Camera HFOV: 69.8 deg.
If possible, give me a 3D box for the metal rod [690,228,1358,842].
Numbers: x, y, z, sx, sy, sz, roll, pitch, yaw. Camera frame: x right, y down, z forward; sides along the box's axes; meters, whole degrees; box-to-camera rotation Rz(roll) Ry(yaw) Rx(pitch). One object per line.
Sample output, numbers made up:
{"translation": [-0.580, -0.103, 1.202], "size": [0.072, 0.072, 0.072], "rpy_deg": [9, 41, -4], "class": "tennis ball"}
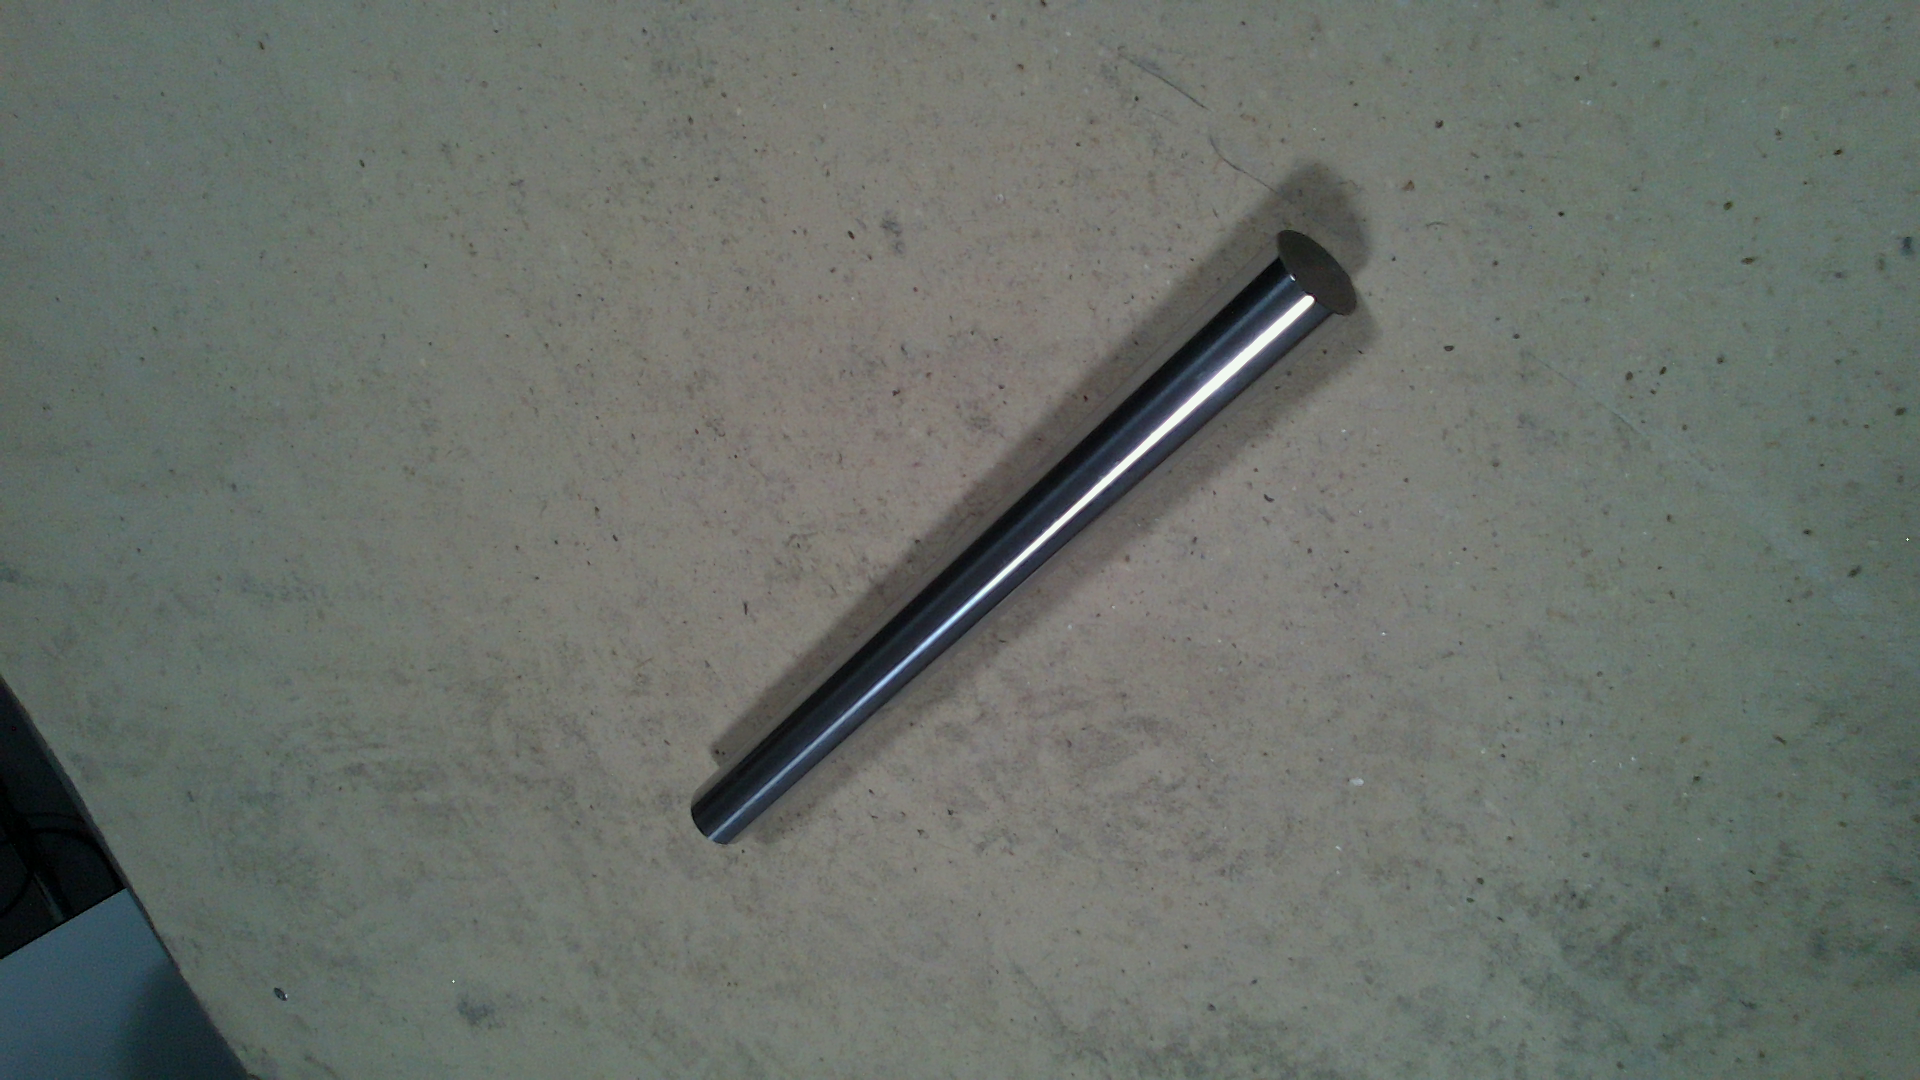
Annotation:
{"translation": [-0.003, 0.019, 0.407], "size": [0.025, 0.025, 0.299], "rpy_deg": [44, 129, -3], "class": "metal rod"}
